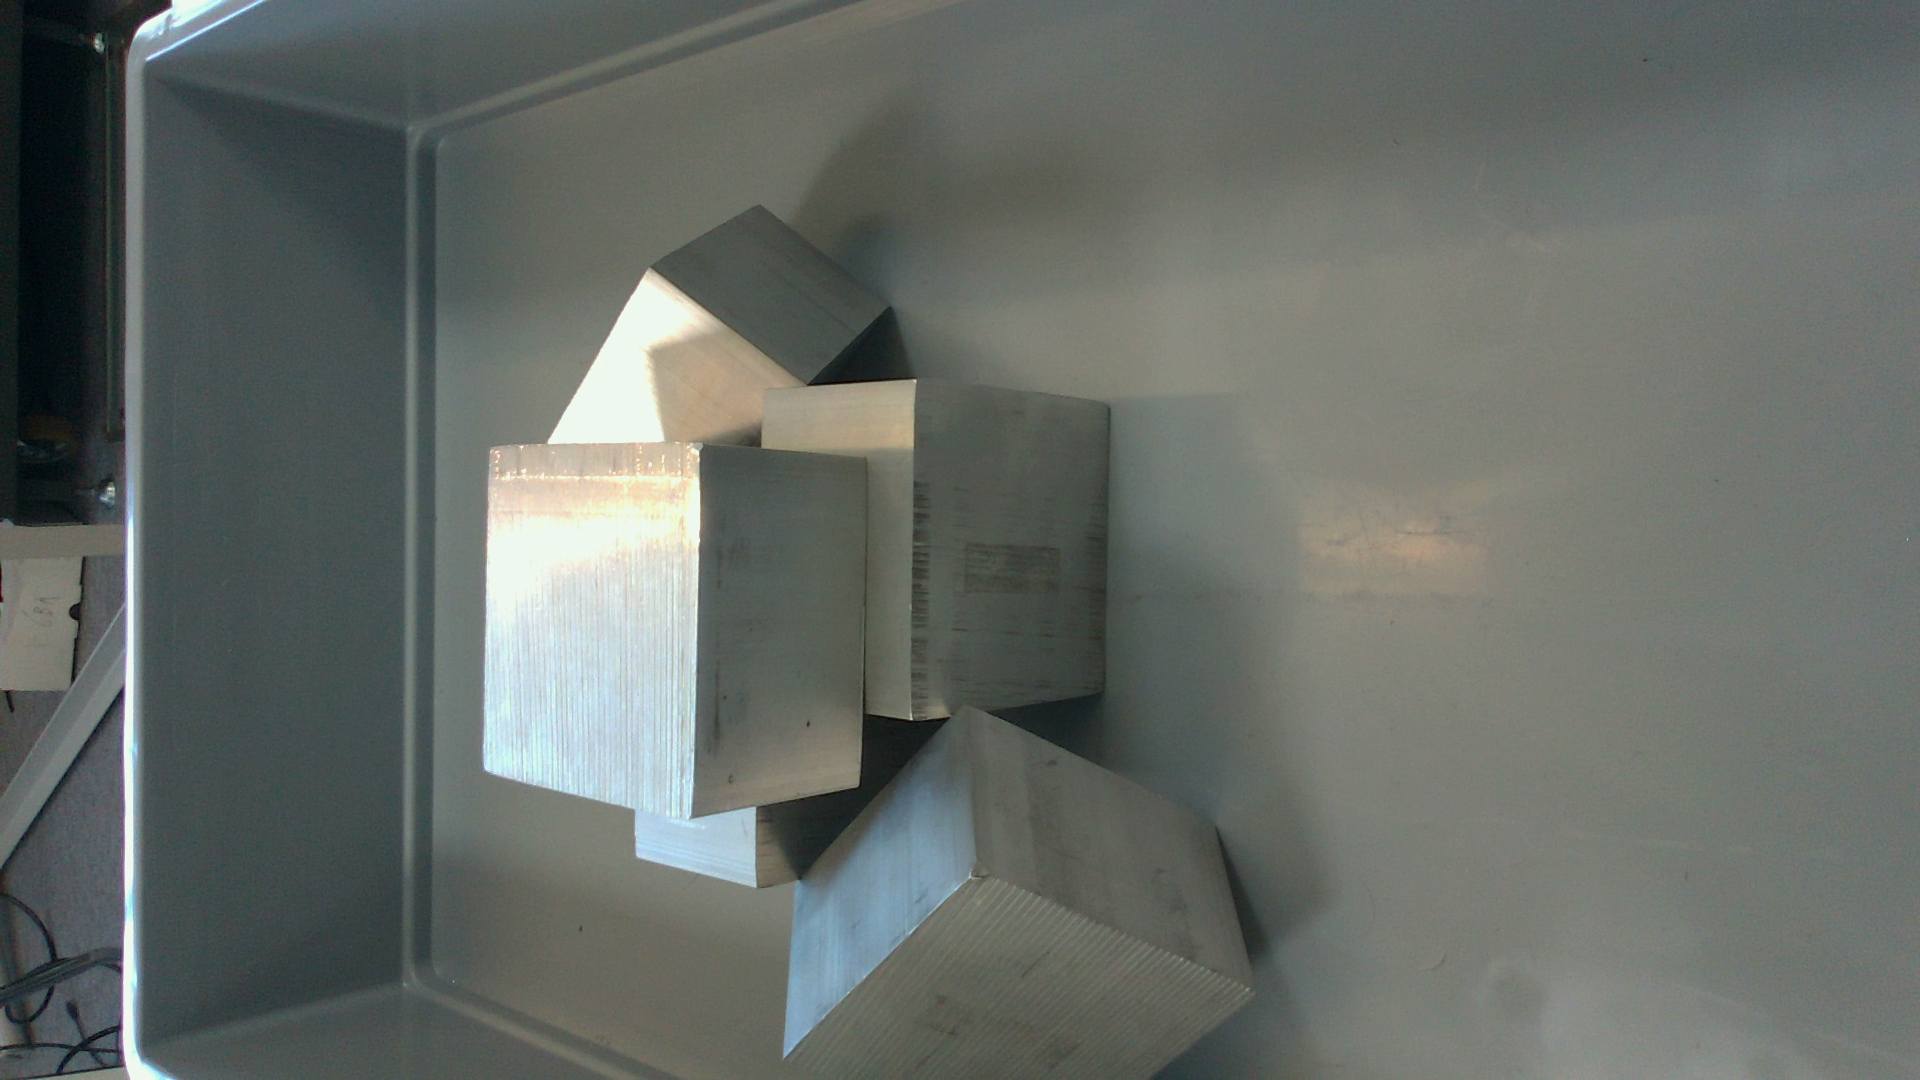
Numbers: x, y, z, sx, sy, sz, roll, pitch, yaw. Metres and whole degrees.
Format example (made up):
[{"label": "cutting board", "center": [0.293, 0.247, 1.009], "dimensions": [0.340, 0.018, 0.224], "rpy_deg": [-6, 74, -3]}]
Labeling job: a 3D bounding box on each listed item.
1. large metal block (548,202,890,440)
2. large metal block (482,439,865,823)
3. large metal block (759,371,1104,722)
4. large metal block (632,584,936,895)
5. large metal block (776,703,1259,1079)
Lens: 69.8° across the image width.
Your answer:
[{"label": "large metal block", "center": [-0.073, -0.045, 0.409], "dimensions": [0.050, 0.080, 0.080], "rpy_deg": [37, 118, -5]}, {"label": "large metal block", "center": [-0.070, 0.018, 0.330], "dimensions": [0.080, 0.050, 0.080], "rpy_deg": [2, 91, 40]}, {"label": "large metal block", "center": [-0.006, 0.001, 0.361], "dimensions": [0.050, 0.080, 0.080], "rpy_deg": [1, 91, 40]}, {"label": "large metal block", "center": [-0.046, 0.050, 0.396], "dimensions": [0.050, 0.080, 0.080], "rpy_deg": [1, 91, 40]}, {"label": "large metal block", "center": [0.012, 0.097, 0.338], "dimensions": [0.080, 0.080, 0.050], "rpy_deg": [-49, 26, 29]}]
